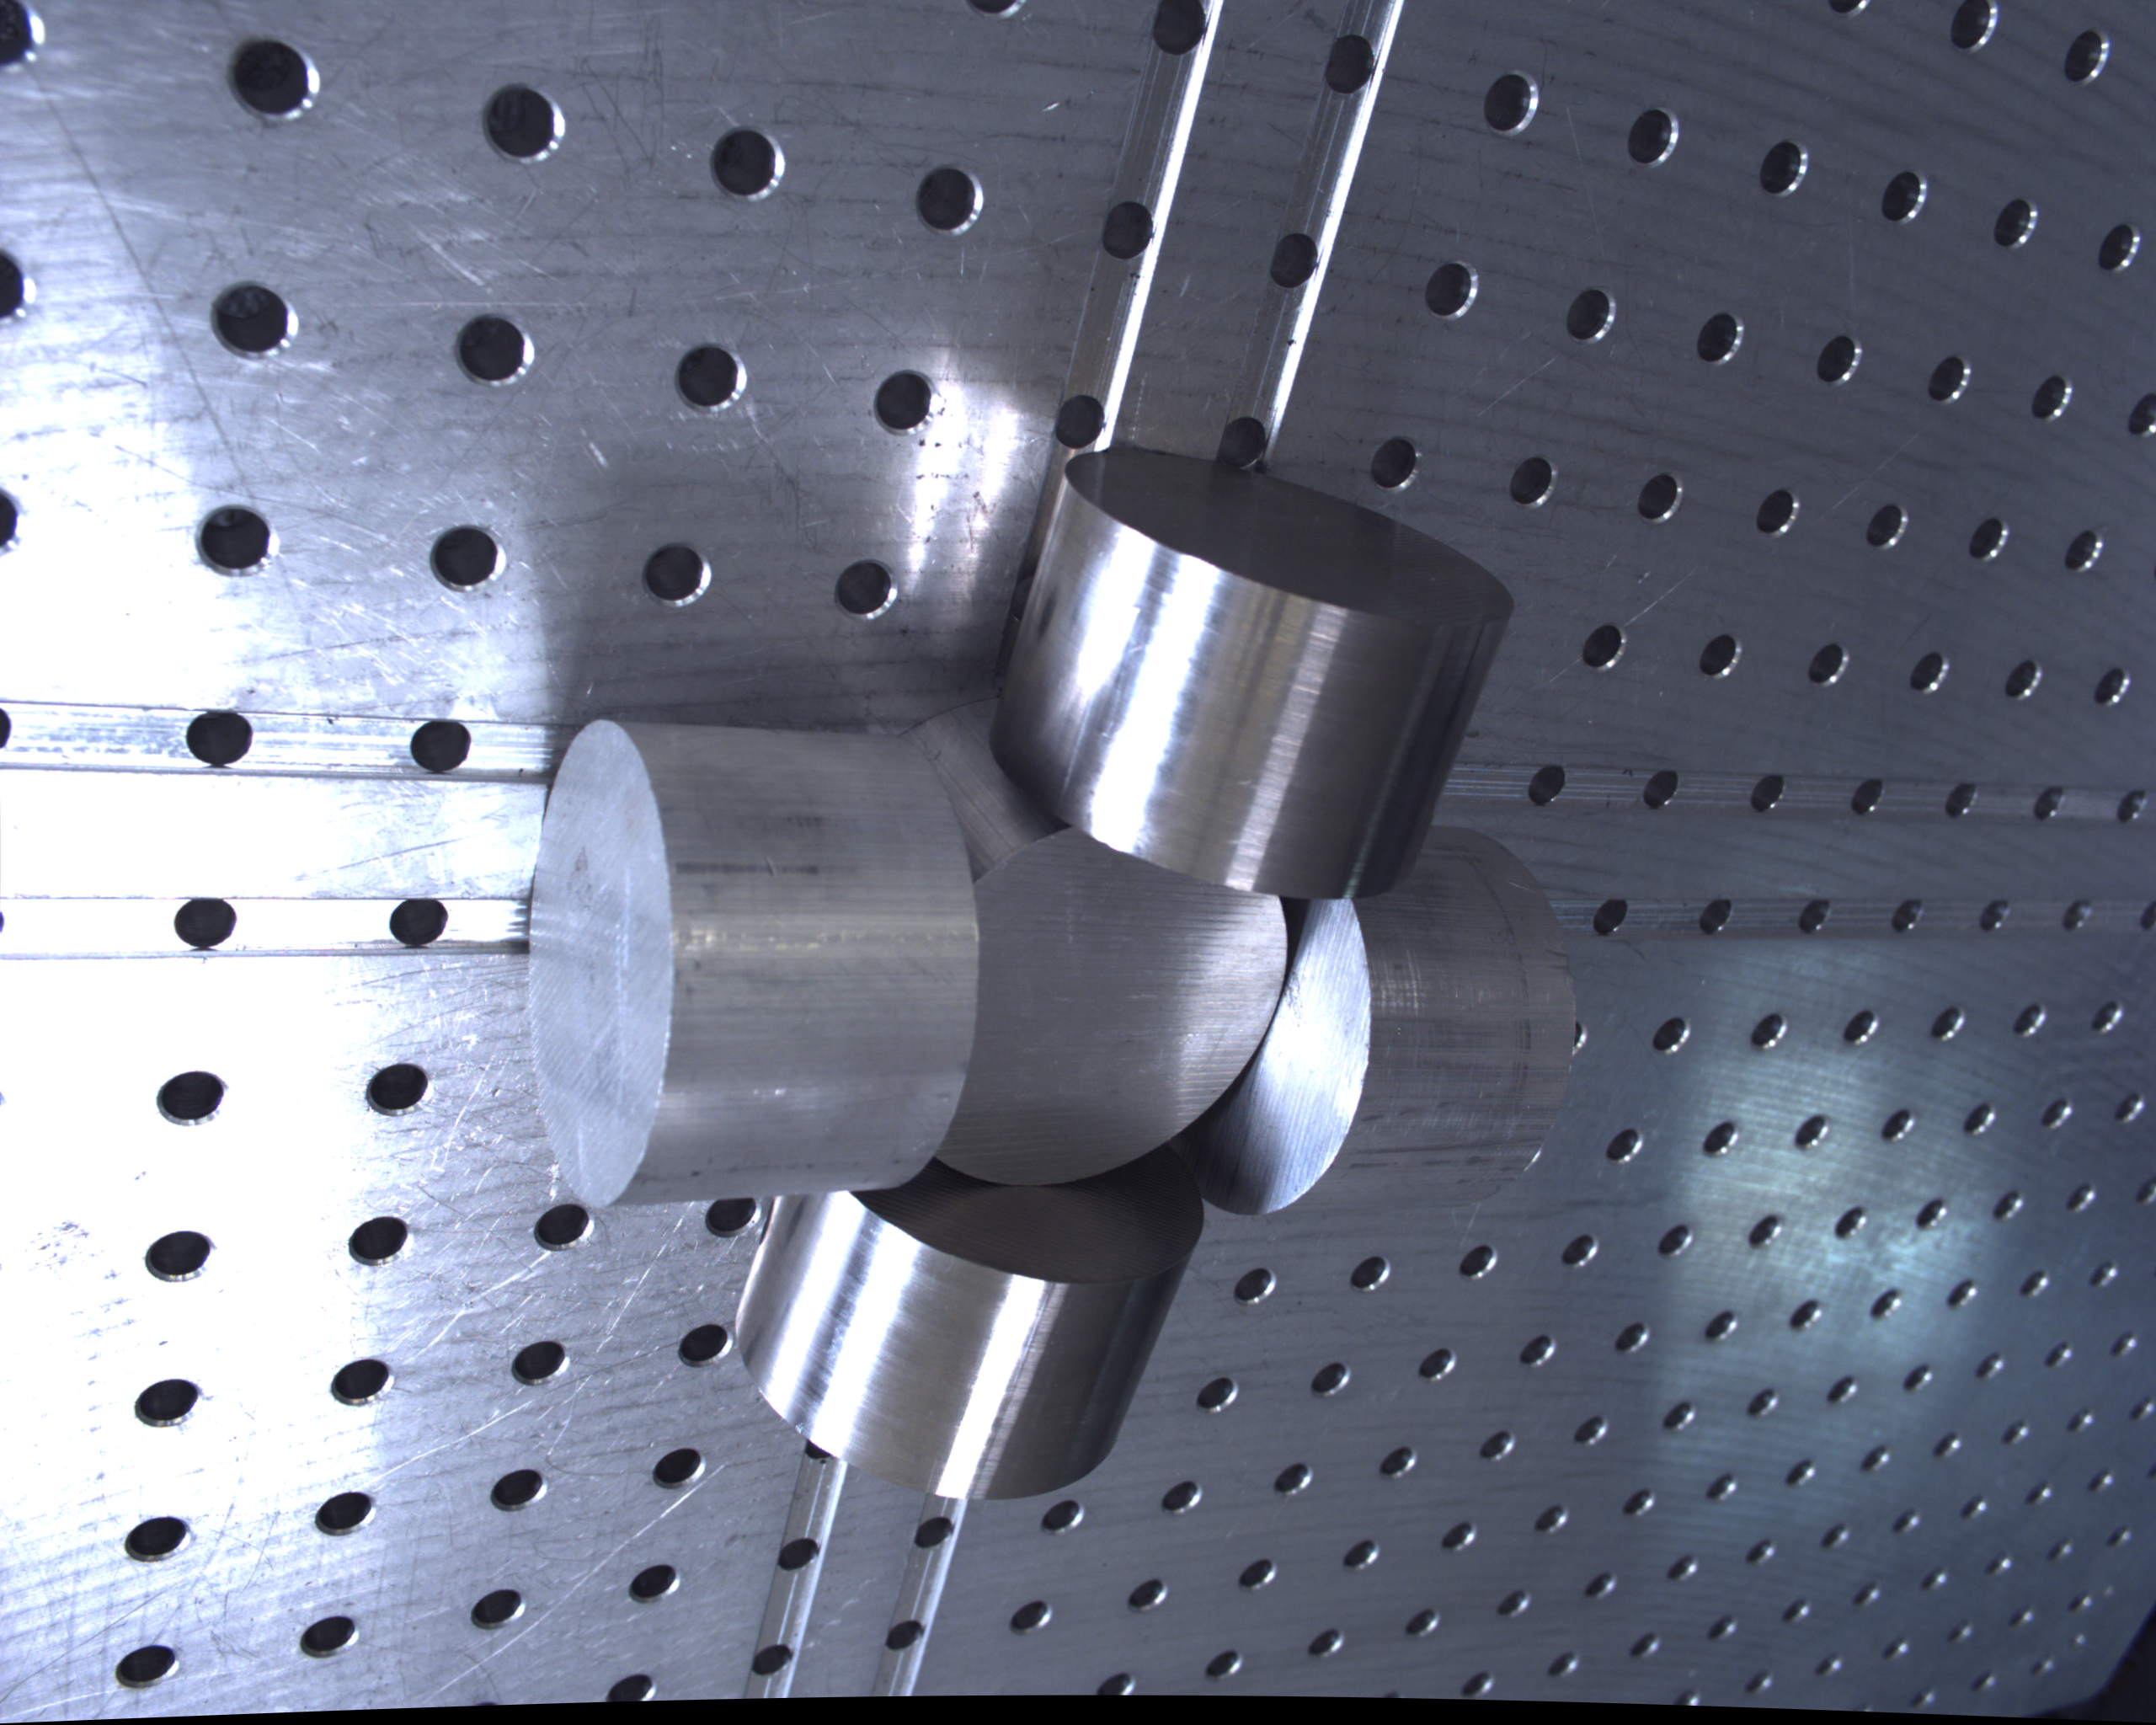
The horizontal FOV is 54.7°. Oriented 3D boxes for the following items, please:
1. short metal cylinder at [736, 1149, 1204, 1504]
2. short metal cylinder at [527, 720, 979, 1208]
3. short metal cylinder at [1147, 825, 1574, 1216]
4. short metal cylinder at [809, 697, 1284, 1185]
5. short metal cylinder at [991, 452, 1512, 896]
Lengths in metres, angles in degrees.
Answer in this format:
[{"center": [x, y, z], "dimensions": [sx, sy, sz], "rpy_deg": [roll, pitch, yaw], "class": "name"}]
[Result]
[{"center": [-0.022, 0.079, 0.411], "dimensions": [0.081, 0.080, 0.050], "rpy_deg": [6, 115, -31], "class": "short metal cylinder"}, {"center": [-0.058, 0.017, 0.354], "dimensions": [0.050, 0.080, 0.079], "rpy_deg": [1, 118, -30], "class": "short metal cylinder"}, {"center": [0.054, 0.031, 0.424], "dimensions": [0.050, 0.080, 0.079], "rpy_deg": [4, 117, -31], "class": "short metal cylinder"}, {"center": [-0.008, 0.014, 0.400], "dimensions": [0.081, 0.050, 0.079], "rpy_deg": [-15, 125, -22], "class": "short metal cylinder"}, {"center": [0.030, -0.035, 0.369], "dimensions": [0.081, 0.080, 0.050], "rpy_deg": [3, 117, -30], "class": "short metal cylinder"}]
